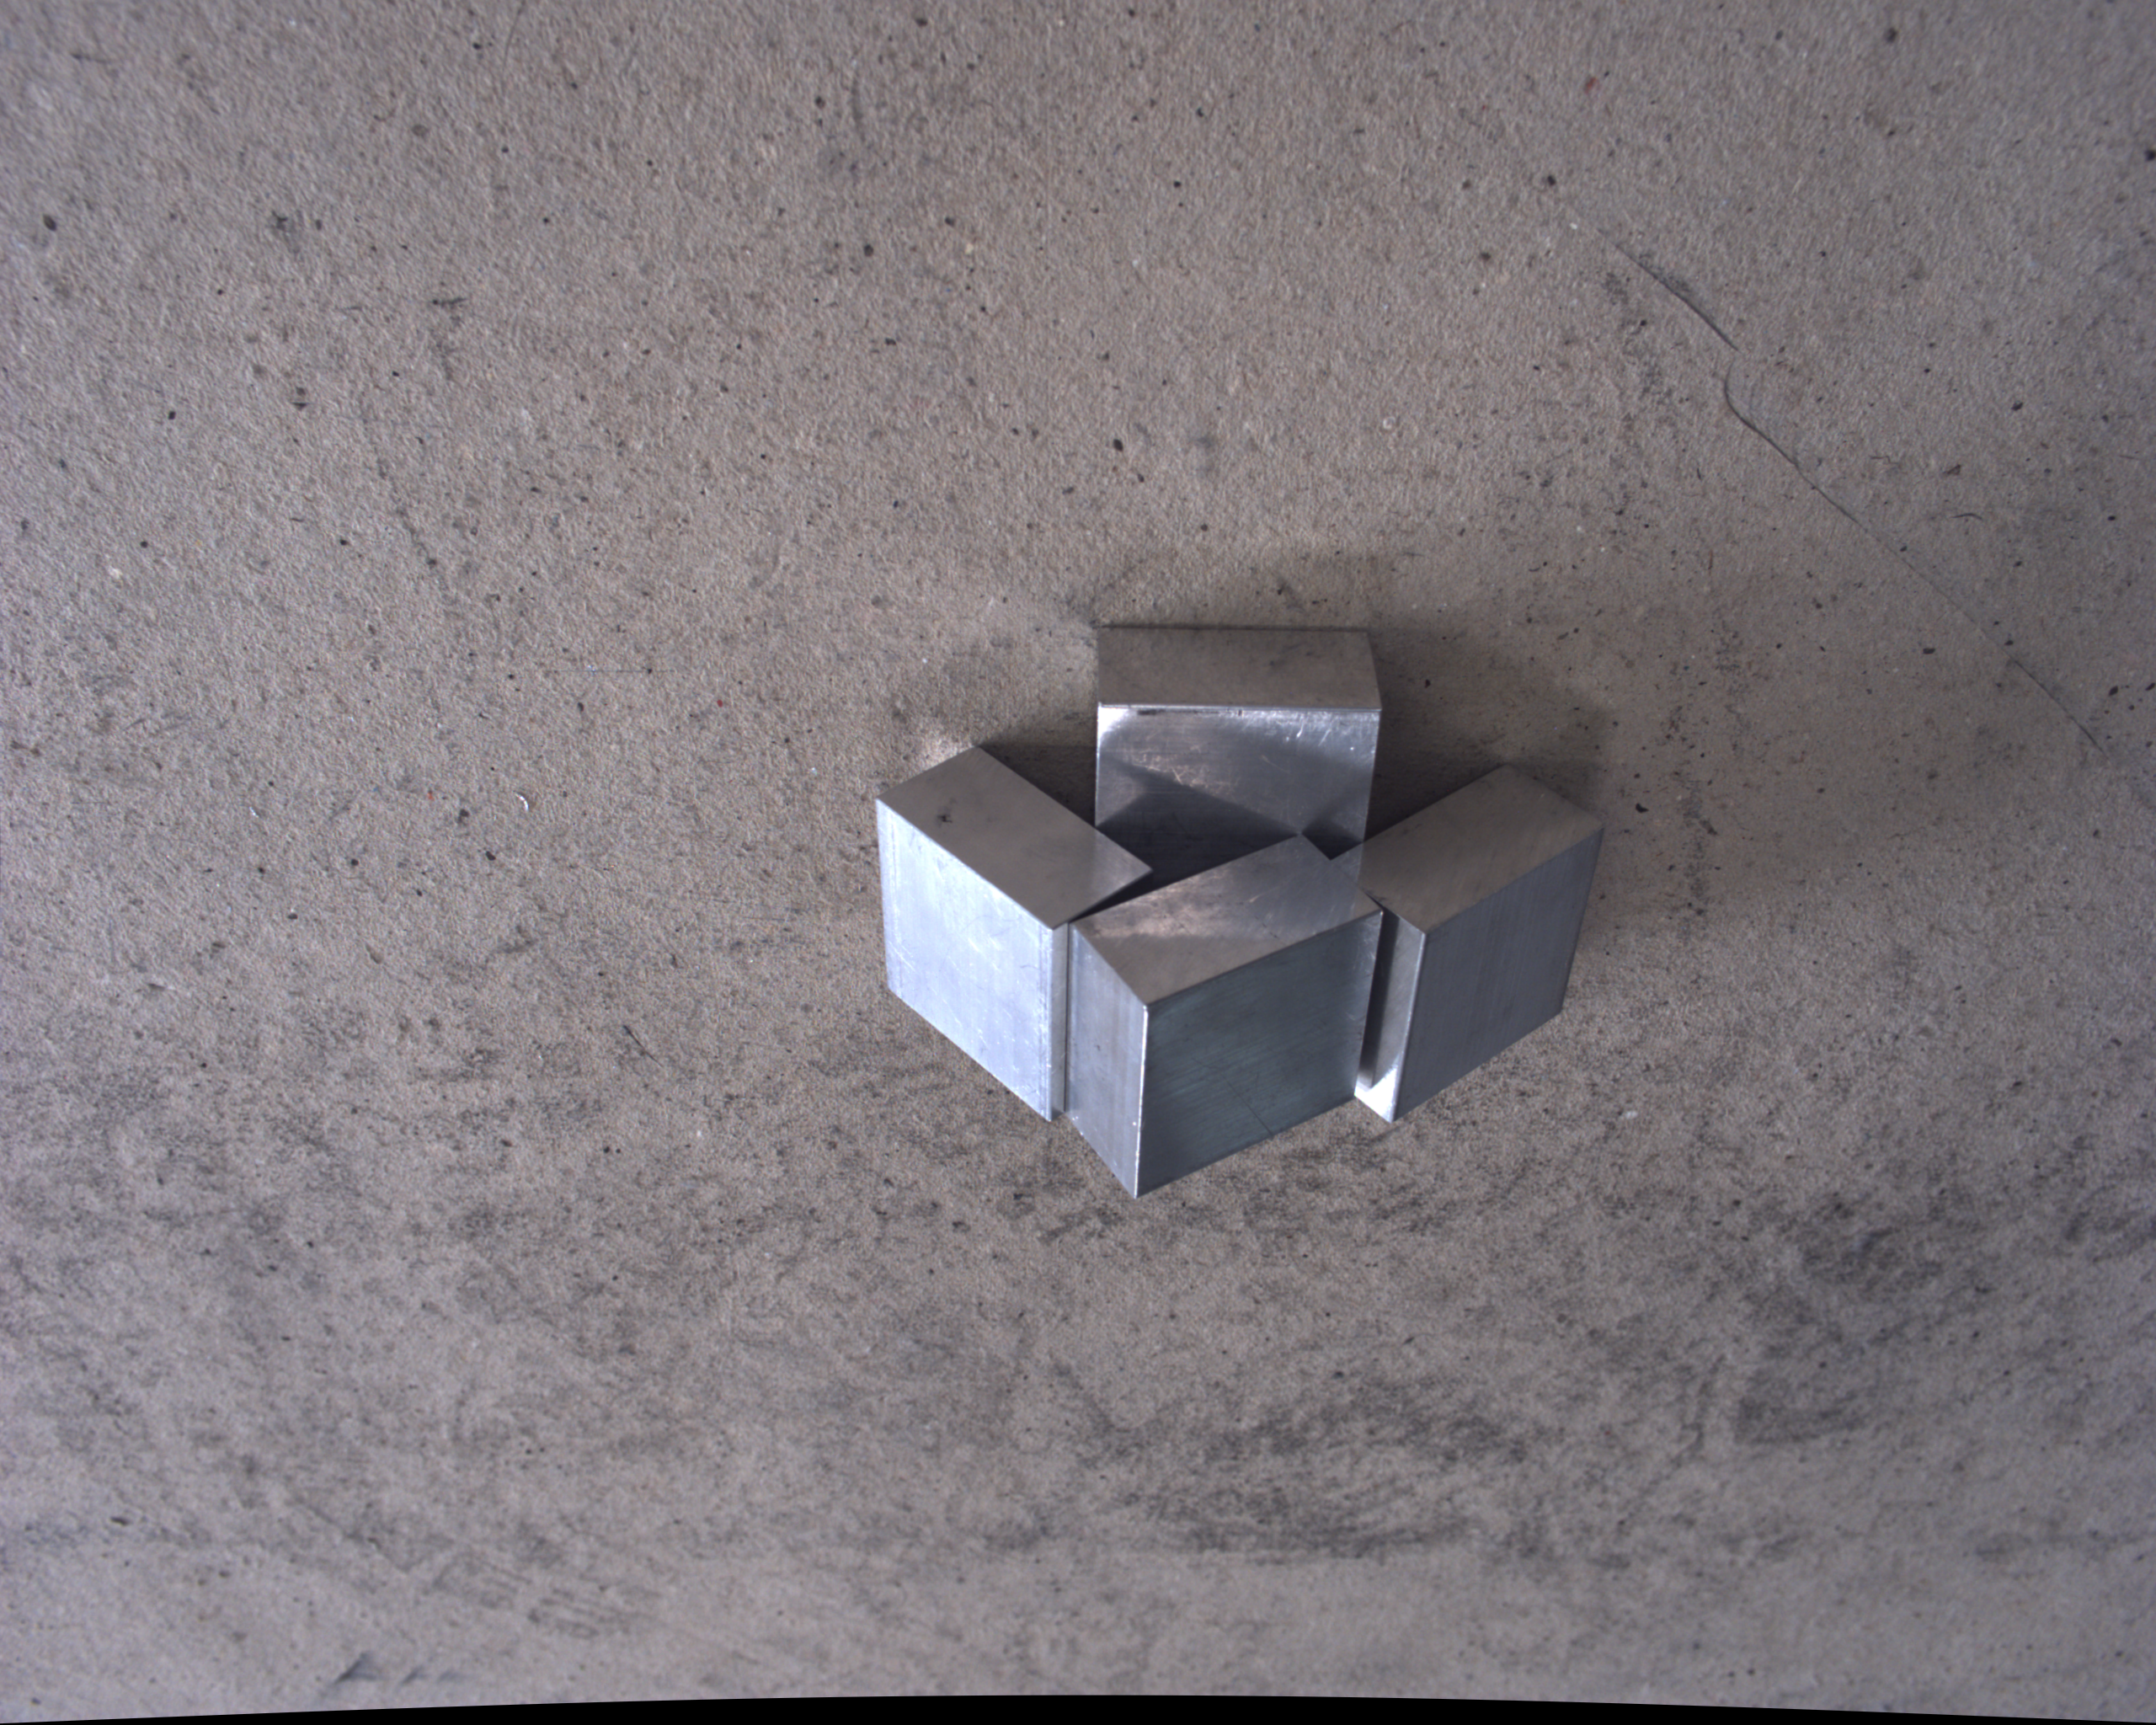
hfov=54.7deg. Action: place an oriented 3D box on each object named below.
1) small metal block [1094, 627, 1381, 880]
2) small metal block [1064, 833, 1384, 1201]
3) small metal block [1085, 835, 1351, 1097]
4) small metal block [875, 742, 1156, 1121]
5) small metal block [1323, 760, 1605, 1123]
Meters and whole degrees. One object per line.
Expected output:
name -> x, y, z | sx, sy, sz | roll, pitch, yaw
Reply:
small metal block -> 0.028, -0.017, 0.395 | 0.050, 0.025, 0.050 | 1, 130, -1
small metal block -> 0.026, 0.028, 0.385 | 0.050, 0.025, 0.050 | -20, 135, -24
small metal block -> 0.027, 0.022, 0.427 | 0.050, 0.025, 0.050 | 1, 130, -1
small metal block -> -0.012, 0.013, 0.402 | 0.025, 0.050, 0.050 | -30, 139, -31
small metal block -> 0.072, 0.015, 0.406 | 0.050, 0.025, 0.050 | -28, 139, -30
